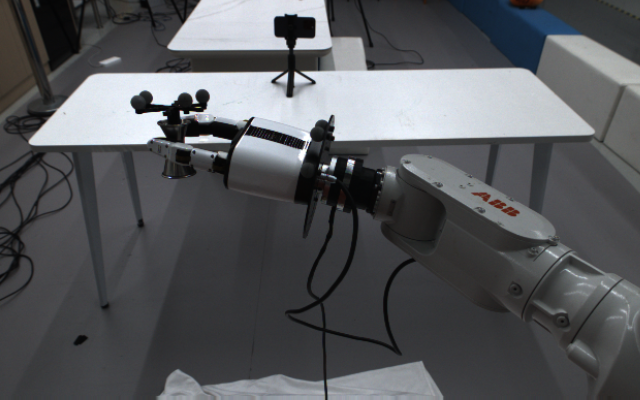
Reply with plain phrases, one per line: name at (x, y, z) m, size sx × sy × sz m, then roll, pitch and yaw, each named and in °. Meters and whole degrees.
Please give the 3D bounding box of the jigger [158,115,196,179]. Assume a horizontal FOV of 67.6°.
jigger at (-0.181, -0.065, 0.614) m, size 0.043 × 0.071 × 0.043 m, roll 0°, pitch 22°, yaw 0°
